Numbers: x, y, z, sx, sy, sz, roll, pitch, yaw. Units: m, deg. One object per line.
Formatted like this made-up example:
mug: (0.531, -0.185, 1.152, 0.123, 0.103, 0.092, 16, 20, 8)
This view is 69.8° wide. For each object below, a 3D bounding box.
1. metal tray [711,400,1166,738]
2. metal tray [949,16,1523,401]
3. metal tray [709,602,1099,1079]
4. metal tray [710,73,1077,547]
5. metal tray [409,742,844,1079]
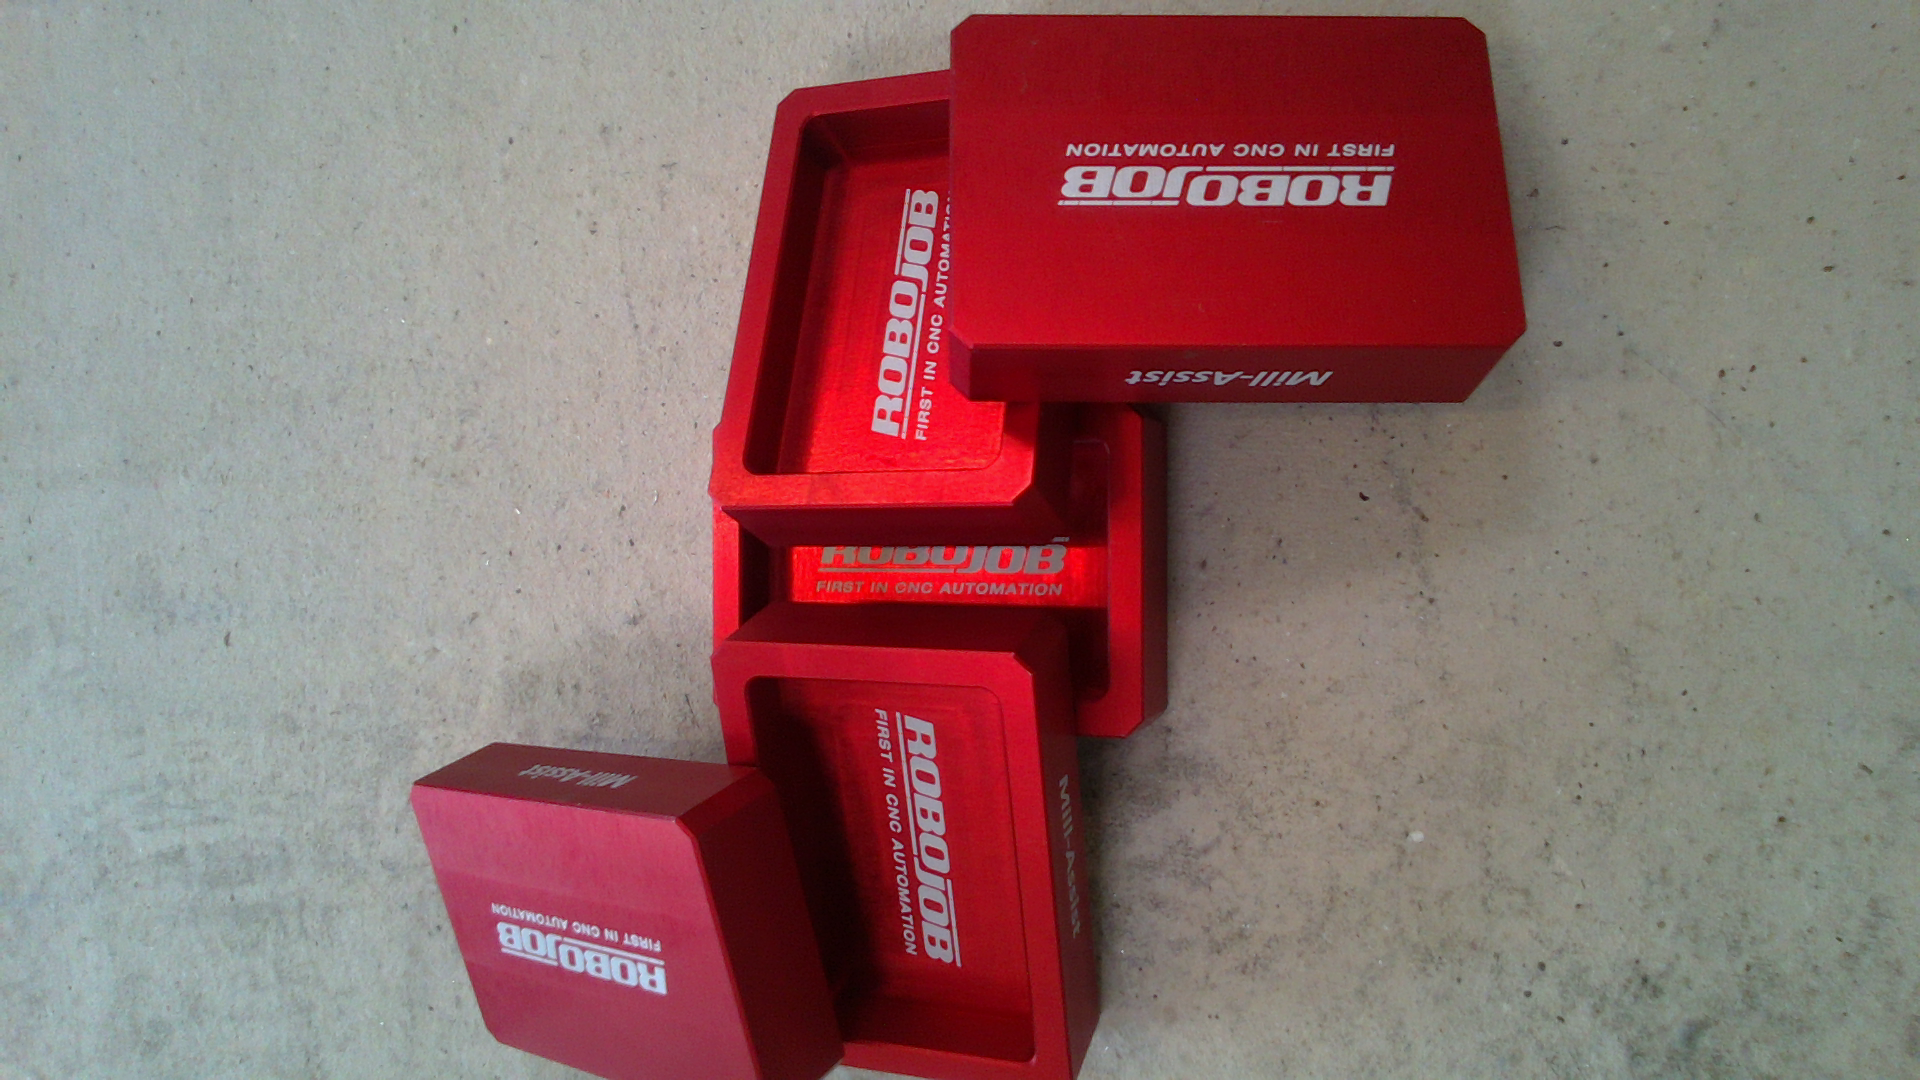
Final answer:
metal tray: (-0.008, 0.007, 0.397, 0.130, 0.030, 0.090, 0, 90, 20)
metal tray: (0.062, -0.081, 0.337, 0.130, 0.030, 0.090, 0, 71, -1)
metal tray: (-0.013, 0.083, 0.377, 0.090, 0.030, 0.130, 1, 109, 20)
metal tray: (-0.012, -0.064, 0.376, 0.090, 0.030, 0.130, 0, 70, 20)
metal tray: (-0.100, 0.109, 0.398, 0.129, 0.030, 0.090, -3, 106, 38)
